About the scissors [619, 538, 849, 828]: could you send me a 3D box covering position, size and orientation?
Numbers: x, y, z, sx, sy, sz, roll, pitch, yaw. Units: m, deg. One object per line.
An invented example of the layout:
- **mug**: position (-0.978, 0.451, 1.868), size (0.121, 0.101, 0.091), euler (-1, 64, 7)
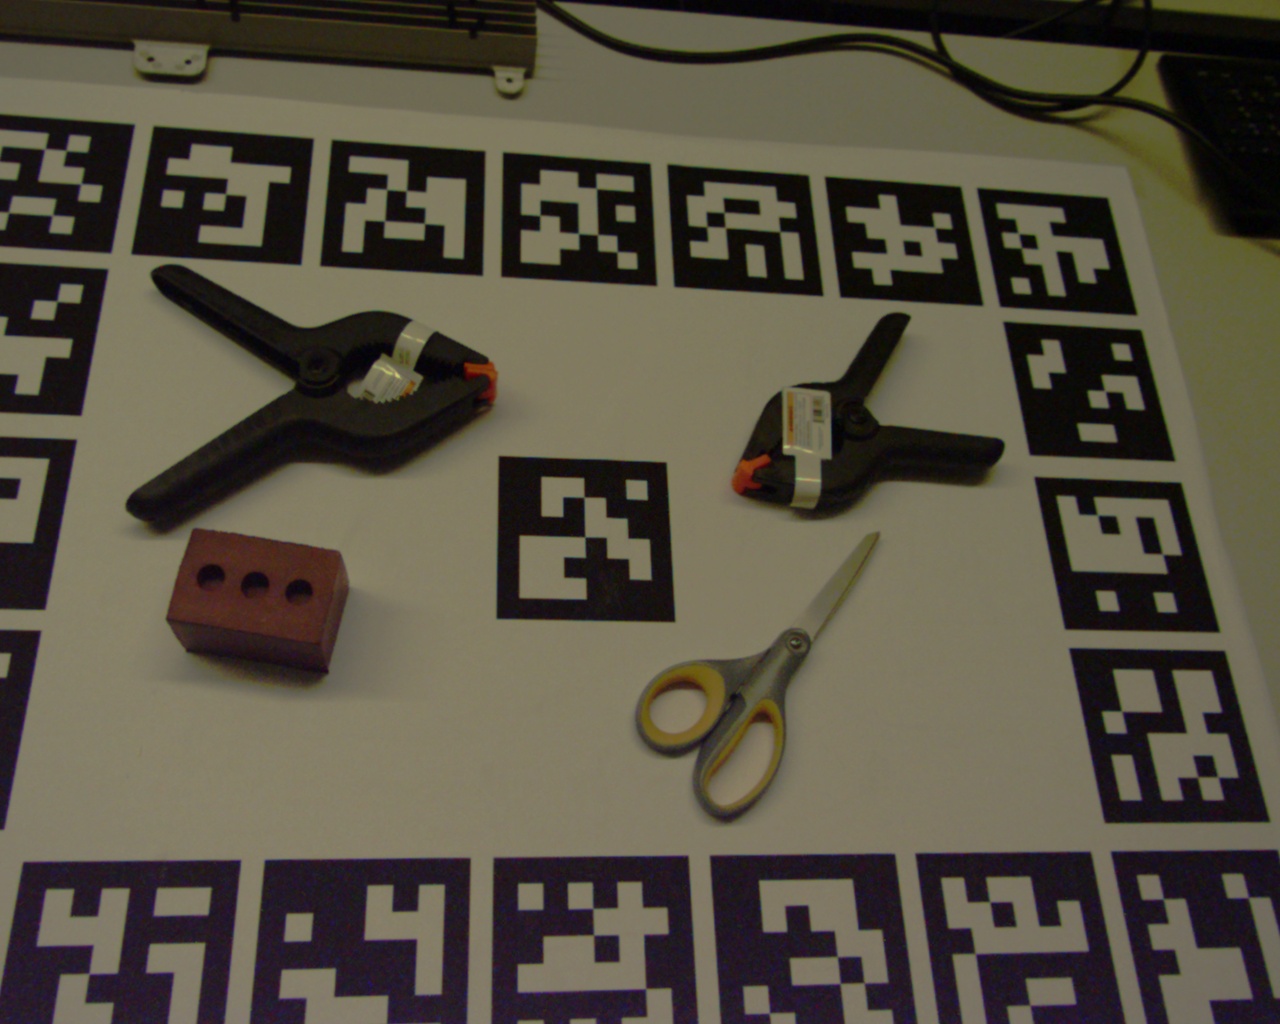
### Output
- **scissors**: position (0.069, 0.086, 0.675), size (0.088, 0.016, 0.202), euler (40, 65, 0)

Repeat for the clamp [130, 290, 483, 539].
- **clamp**: position (-0.197, -0.064, 0.691), size (0.202, 0.037, 0.166), euler (-3, 65, -11)

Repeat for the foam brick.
- **foam brick**: position (-0.207, 0.059, 0.631), size (0.078, 0.051, 0.053), euler (7, 68, -1)

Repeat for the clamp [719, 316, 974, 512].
- **clamp**: position (0.123, -0.049, 0.738), size (0.164, 0.037, 0.122), euler (-26, 80, -17)
